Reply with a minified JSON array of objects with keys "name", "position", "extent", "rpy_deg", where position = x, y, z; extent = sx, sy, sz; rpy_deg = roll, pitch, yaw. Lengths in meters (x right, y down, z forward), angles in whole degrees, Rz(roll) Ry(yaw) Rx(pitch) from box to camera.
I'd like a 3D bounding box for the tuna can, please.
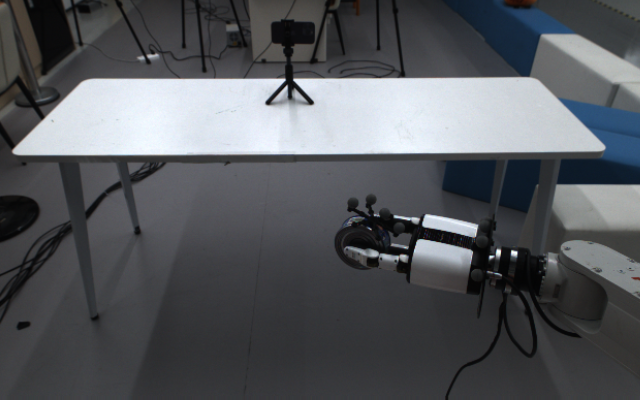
[{"name":"tuna can","position":[0.070,0.075,0.767],"extent":[0.085,0.085,0.034],"rpy_deg":[15,31,18]}]
